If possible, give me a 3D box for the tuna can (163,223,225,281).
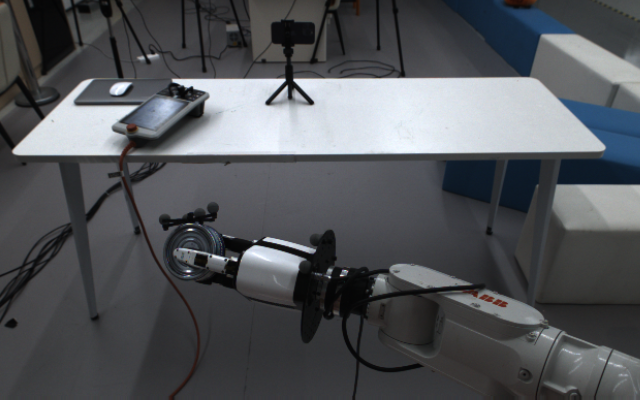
[{"bbox_3d":[-0.184,0.077,0.711,0.085,0.085,0.034,12,-6,15],"label":"tuna can"}]
